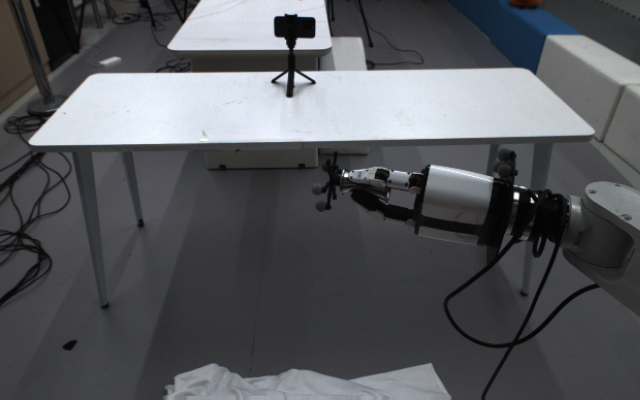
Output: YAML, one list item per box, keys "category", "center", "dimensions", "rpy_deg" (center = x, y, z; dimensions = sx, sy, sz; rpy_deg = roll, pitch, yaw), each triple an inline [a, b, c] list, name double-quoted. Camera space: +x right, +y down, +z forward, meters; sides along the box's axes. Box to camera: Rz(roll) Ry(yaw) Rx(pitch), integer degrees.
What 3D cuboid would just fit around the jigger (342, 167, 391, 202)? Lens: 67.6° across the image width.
- category: "jigger"
  center: [0.072, -0.027, 0.693]
  dimensions: [0.071, 0.043, 0.043]
  rpy_deg: [8, 35, 16]
